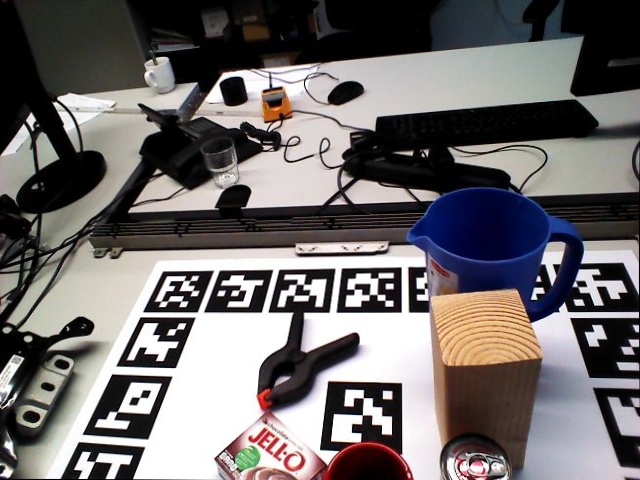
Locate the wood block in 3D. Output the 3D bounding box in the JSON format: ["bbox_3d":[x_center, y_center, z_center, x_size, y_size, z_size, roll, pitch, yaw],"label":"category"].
[{"bbox_3d":[0.172,0.150,0.548,0.090,0.207,0.090,-2,39,8],"label":"wood block"}]

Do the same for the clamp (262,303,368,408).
[{"bbox_3d":[-0.024,0.167,0.733,0.122,0.037,0.164,25,52,29],"label":"clamp"}]

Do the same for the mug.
[{"bbox_3d":[0.059,0.273,0.531,0.092,0.081,0.117,-36,43,-30],"label":"mug"}]

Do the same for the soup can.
[{"bbox_3d":[0.151,0.248,0.517,0.068,0.102,0.067,-8,41,7],"label":"soup can"}]

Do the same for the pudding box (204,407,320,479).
[{"bbox_3d":[-0.068,0.267,0.614,0.089,0.039,0.114,-39,45,-25],"label":"pudding box"}]

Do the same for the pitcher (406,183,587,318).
[{"bbox_3d":[0.210,0.060,0.624,0.190,0.243,0.132,-5,37,14],"label":"pitcher"}]
